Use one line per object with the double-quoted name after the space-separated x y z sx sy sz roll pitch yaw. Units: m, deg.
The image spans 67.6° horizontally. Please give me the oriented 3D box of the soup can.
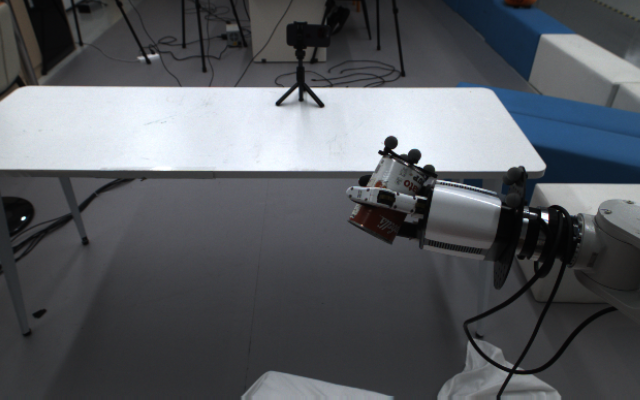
0.090 -0.001 0.647 0.067 0.101 0.067 28 -2 1 "soup can"
